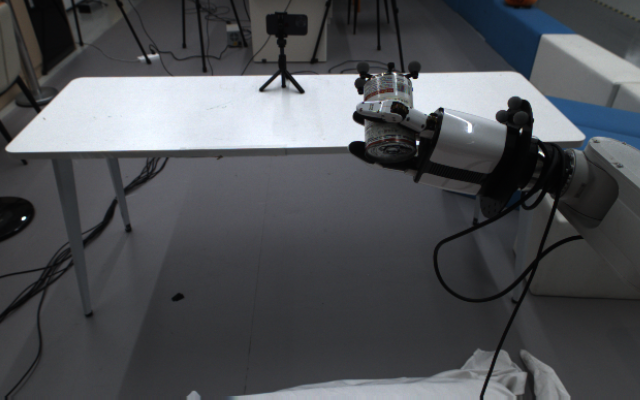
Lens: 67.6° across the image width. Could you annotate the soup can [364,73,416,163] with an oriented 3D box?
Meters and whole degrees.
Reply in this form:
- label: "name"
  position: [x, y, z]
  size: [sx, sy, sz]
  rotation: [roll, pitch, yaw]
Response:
- label: "soup can"
  position: [0.093, -0.109, 0.643]
  size: [0.067, 0.067, 0.101]
  rotation: [1, 72, -2]
